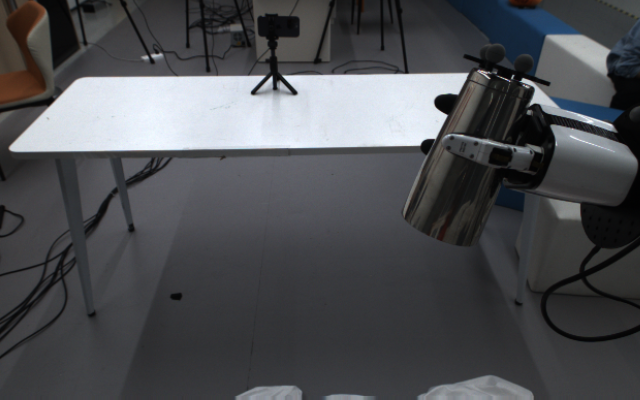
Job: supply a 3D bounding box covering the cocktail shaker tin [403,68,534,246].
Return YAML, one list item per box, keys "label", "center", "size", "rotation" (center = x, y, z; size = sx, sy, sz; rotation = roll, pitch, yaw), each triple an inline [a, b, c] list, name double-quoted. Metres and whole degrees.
- label: "cocktail shaker tin"
  center: [0.162, -0.048, 0.519]
  size: [0.093, 0.170, 0.093]
  rotation: [16, 21, -6]
